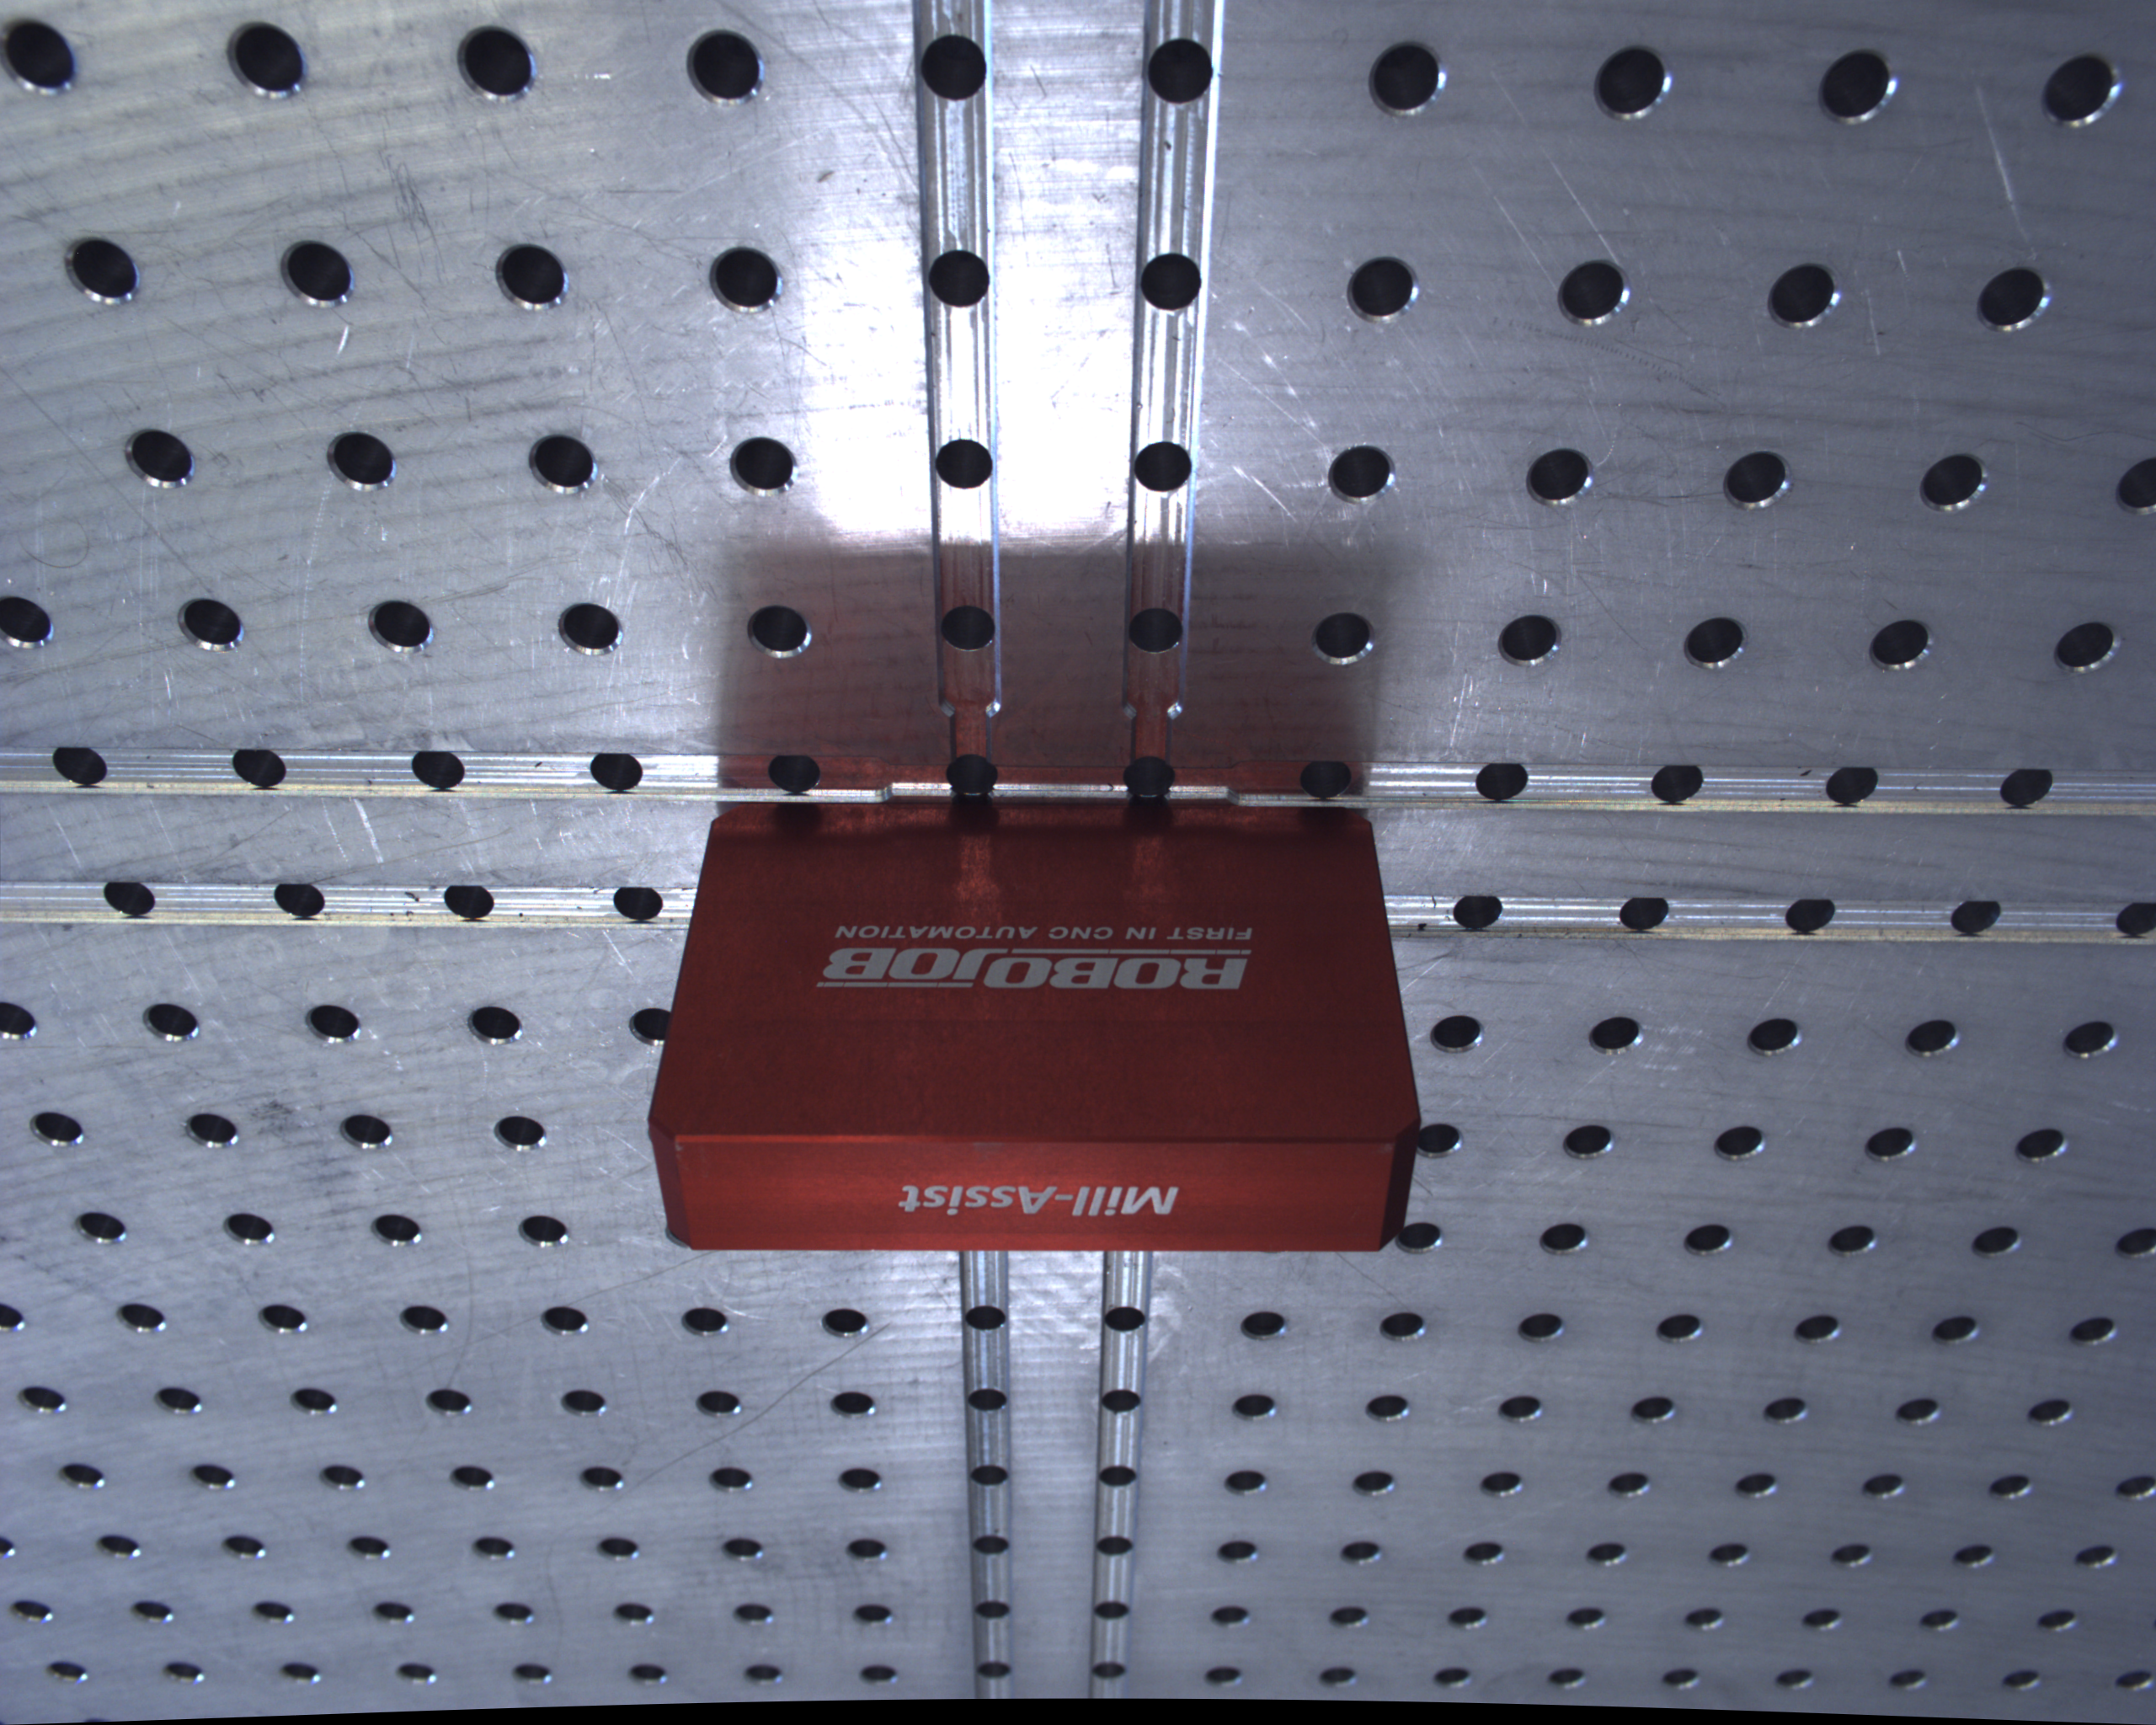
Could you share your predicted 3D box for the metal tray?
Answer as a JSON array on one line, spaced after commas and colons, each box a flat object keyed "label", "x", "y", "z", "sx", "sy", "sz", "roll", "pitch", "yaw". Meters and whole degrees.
[{"label": "metal tray", "x": -0.007, "y": 0.028, "z": 0.392, "sx": 0.131, "sy": 0.090, "sz": 0.030, "roll": 0, "pitch": 130, "yaw": 0}]
